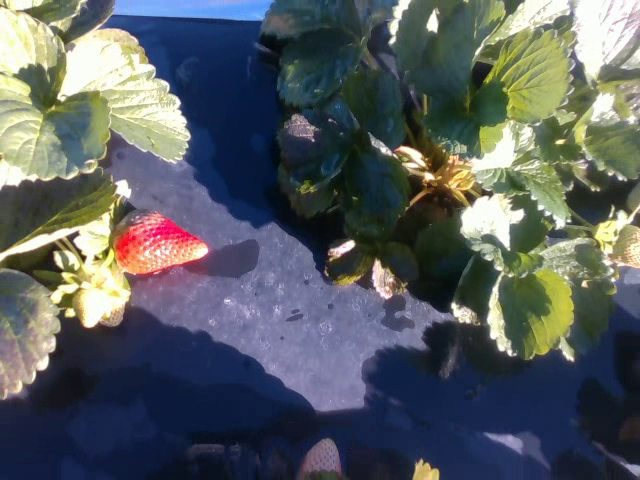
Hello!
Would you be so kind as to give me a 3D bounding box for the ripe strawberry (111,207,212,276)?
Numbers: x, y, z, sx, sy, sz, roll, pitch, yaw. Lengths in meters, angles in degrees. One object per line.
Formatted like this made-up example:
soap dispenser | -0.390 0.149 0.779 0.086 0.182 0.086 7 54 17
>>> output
ripe strawberry | -0.098 0.002 0.381 0.064 0.050 0.052 6 17 -3
